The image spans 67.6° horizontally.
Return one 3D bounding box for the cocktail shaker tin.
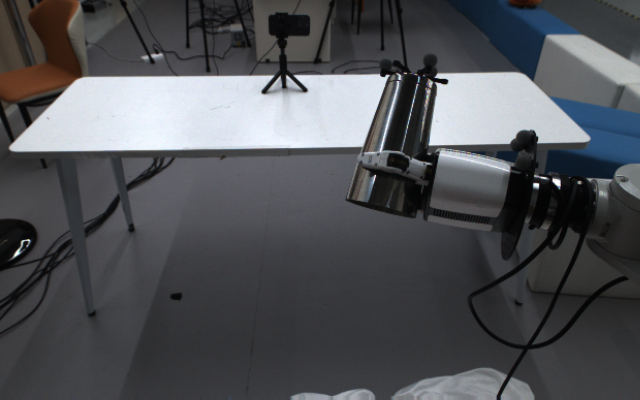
[{"bbox_3d":[0.099,-0.070,0.623,0.093,0.170,0.093,15,-4,1],"label":"cocktail shaker tin"}]
